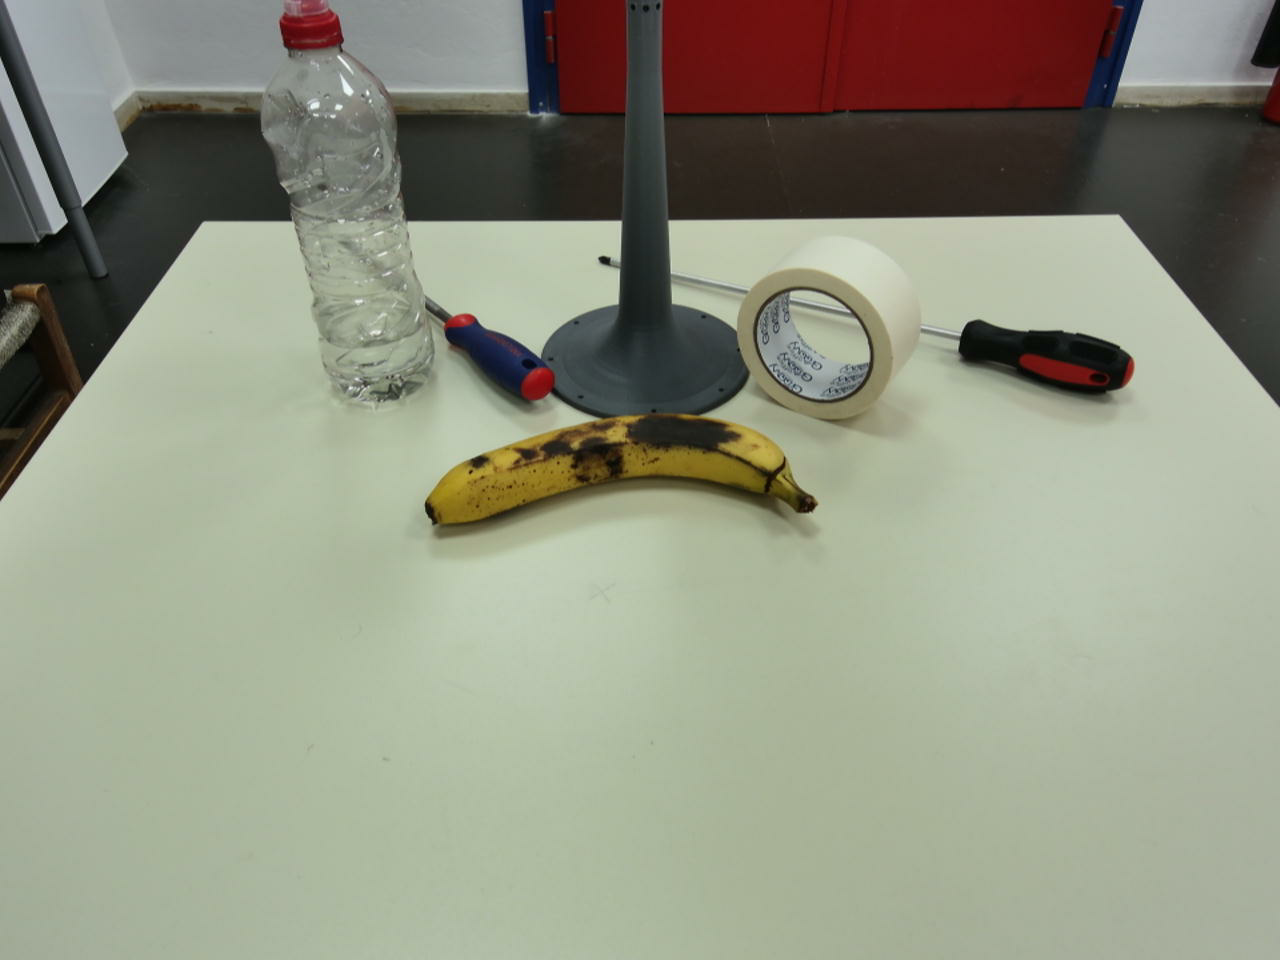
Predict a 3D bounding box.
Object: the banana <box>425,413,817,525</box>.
[{"bbox_3d":[-0.011,-0.008,0.590,0.222,0.037,0.084,0,39,0],"label":"banana"}]
